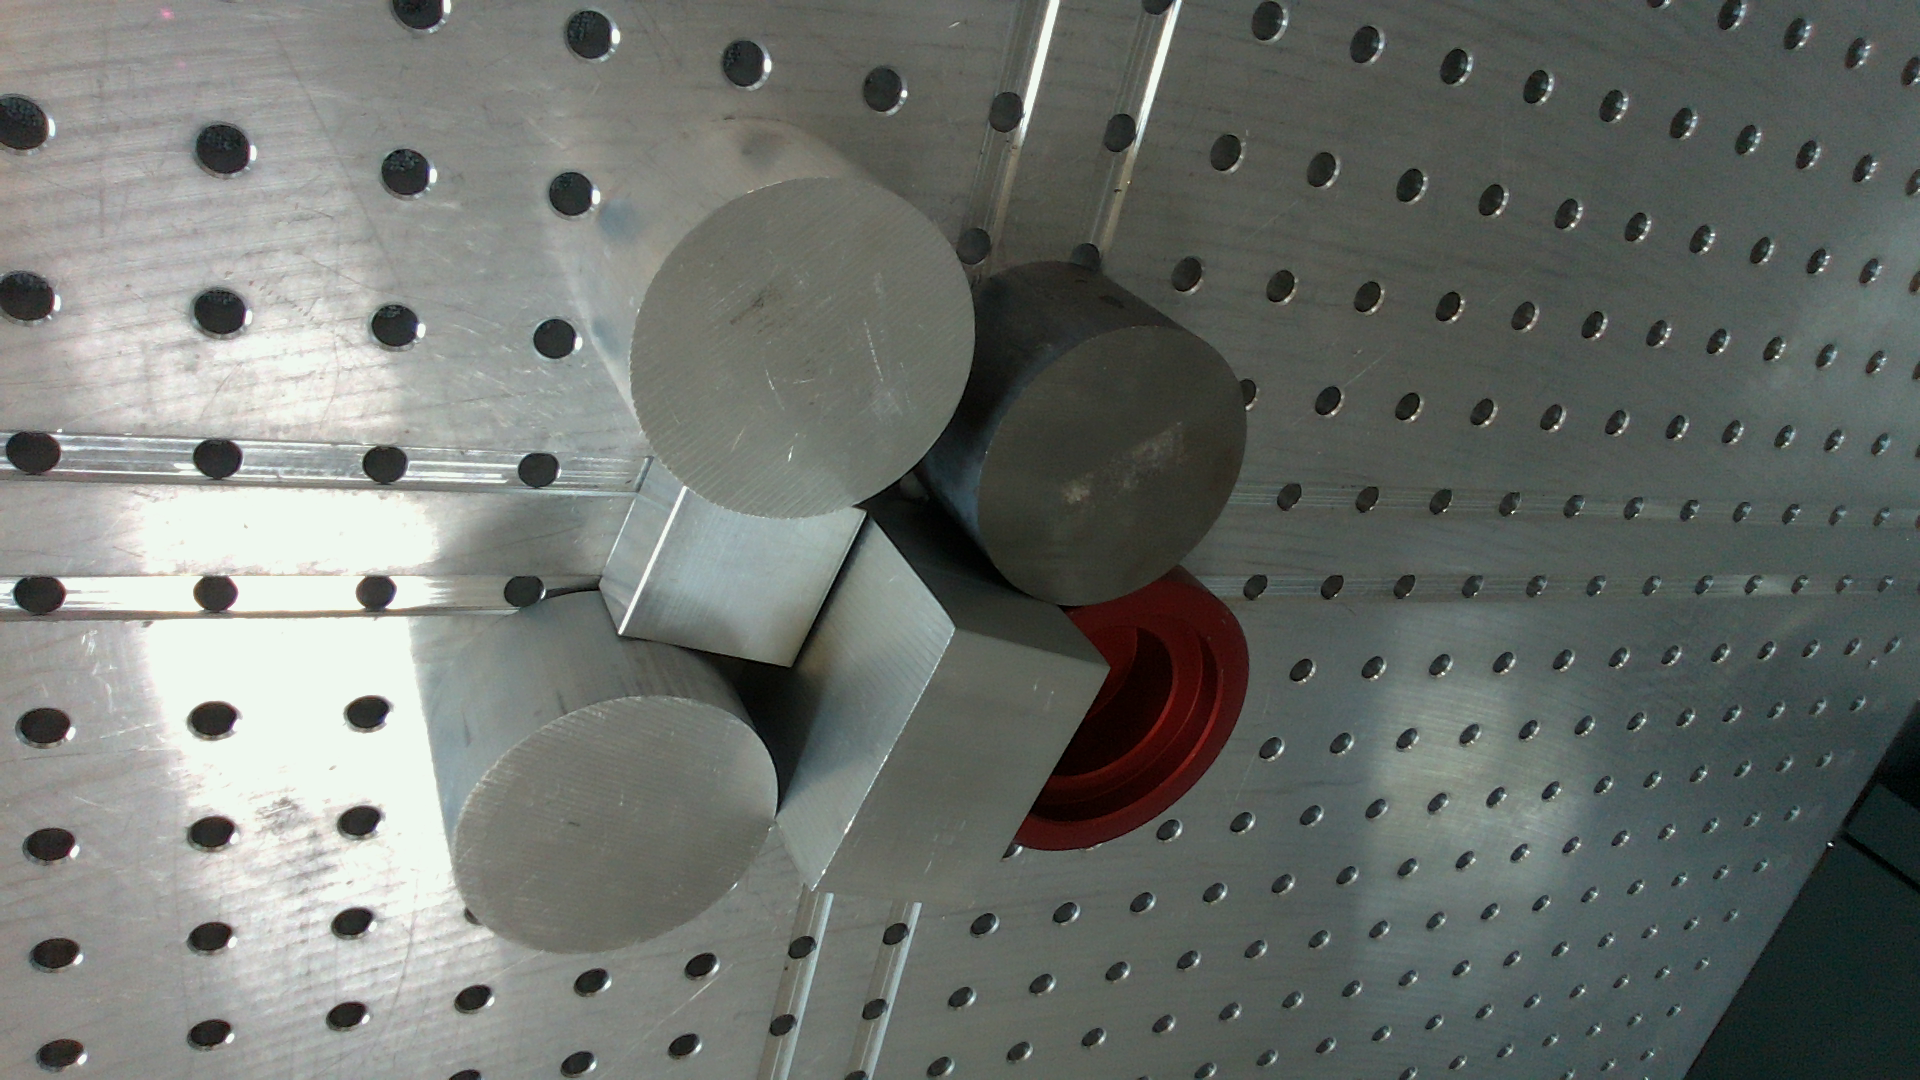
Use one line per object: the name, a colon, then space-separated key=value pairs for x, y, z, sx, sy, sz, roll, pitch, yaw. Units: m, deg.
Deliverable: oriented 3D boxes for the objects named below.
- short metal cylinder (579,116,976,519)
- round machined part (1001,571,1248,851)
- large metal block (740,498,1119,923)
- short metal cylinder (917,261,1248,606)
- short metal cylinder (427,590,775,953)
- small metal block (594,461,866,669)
short metal cylinder: x=-0.043 y=-0.052 z=0.320 sx=0.080 sy=0.050 sz=0.080 roll=-14 pitch=124 yaw=-21
round machined part: x=0.037 y=0.045 z=0.429 sx=0.098 sy=0.042 sz=0.098 roll=-14 pitch=124 yaw=-21
large metal block: x=-0.015 y=0.043 z=0.371 sx=0.050 sy=0.080 sz=0.080 roll=17 pitch=110 yaw=-35
short metal cylinder: x=0.030 y=-0.029 z=0.374 sx=0.080 sy=0.050 sz=0.080 roll=-14 pitch=124 yaw=-21
short metal cylinder: x=-0.095 y=0.060 z=0.361 sx=0.080 sy=0.050 sz=0.080 roll=-14 pitch=124 yaw=-21
small metal block: x=-0.061 y=0.002 z=0.360 sx=0.050 sy=0.025 sz=0.050 roll=16 pitch=110 yaw=-34
